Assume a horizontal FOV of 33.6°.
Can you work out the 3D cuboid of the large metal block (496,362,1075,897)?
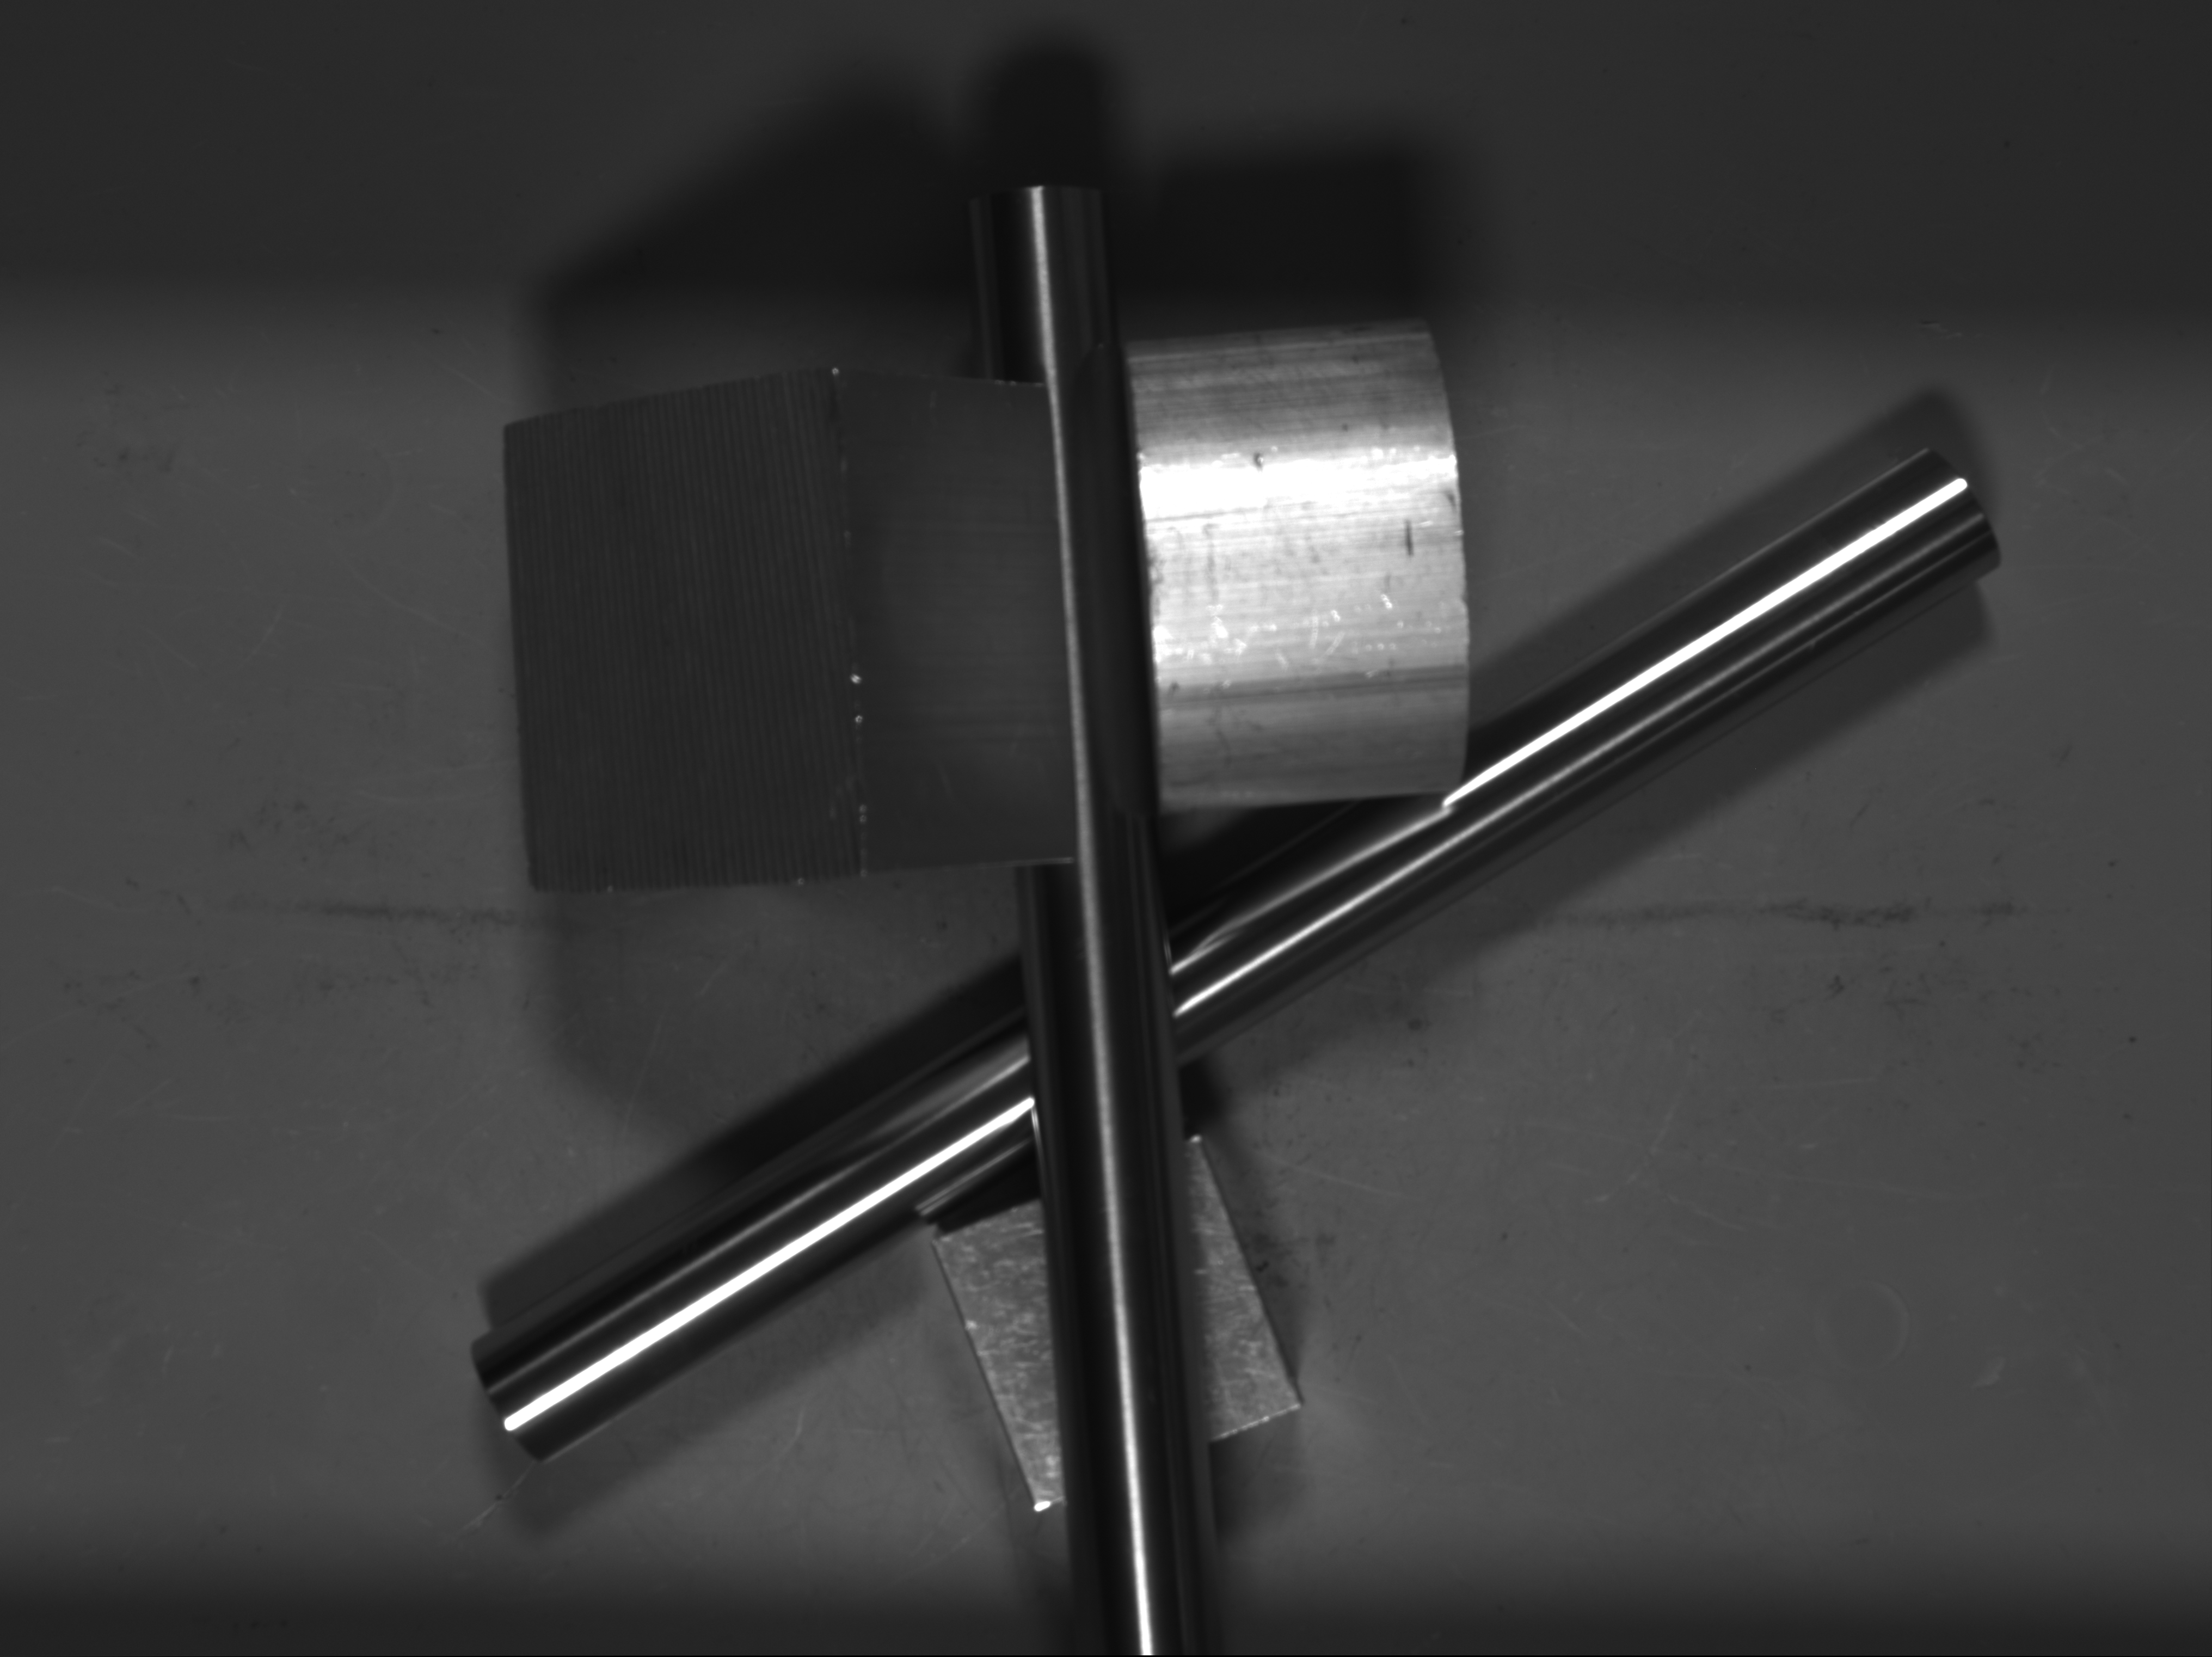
[{"bbox_3d":[-0.054,-0.031,0.612,0.080,0.050,0.080,-4,90,40],"label":"large metal block"}]

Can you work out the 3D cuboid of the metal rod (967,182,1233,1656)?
[{"bbox_3d":[0.001,0.042,0.618,0.025,0.025,0.300,-5,89,0],"label":"metal rod"}]

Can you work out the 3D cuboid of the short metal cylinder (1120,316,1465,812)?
[{"bbox_3d":[0.030,-0.044,0.616,0.050,0.080,0.080,-4,90,-2],"label":"short metal cylinder"}]

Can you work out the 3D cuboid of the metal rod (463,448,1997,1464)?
[{"bbox_3d":[0.022,0.022,0.644,0.300,0.025,0.025,-32,90,0],"label":"metal rod"}]

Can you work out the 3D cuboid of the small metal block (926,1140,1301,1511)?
[{"bbox_3d":[0.001,0.085,0.644,0.050,0.025,0.050,-21,90,0],"label":"small metal block"}]
